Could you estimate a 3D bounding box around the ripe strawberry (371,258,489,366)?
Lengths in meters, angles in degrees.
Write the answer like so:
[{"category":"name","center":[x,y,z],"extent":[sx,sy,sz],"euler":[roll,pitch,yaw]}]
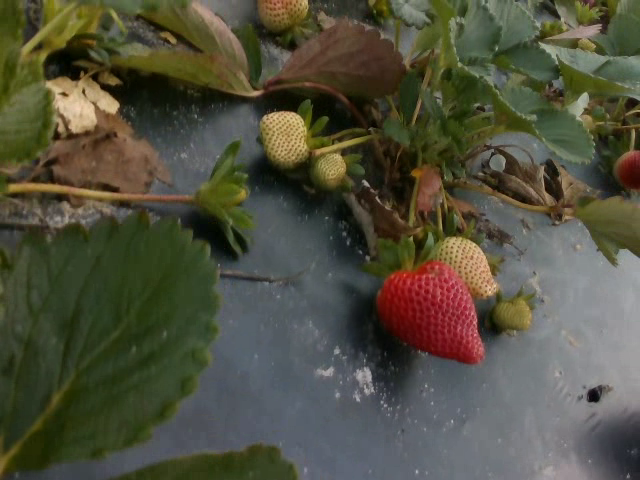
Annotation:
[{"category":"ripe strawberry","center":[0.053,0.033,0.263],"extent":[0.050,0.033,0.059],"euler":[-6,44,-41]}]
